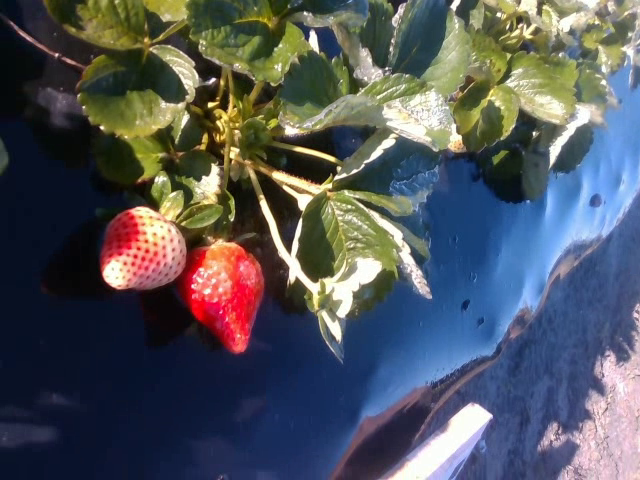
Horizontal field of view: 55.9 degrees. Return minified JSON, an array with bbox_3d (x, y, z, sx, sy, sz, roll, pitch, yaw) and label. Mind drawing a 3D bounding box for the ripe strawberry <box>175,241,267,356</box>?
[{"bbox_3d":[-0.034,0.026,0.235,0.040,0.038,0.056,-8,43,-19],"label":"ripe strawberry"}]
